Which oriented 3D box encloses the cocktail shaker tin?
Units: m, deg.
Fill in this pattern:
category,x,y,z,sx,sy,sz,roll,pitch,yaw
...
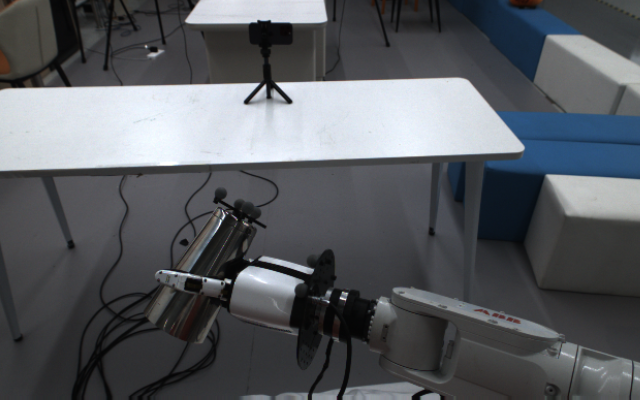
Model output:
category,x,y,z,sx,sy,sz,roll,pitch,yaw
cocktail shaker tin,-0.158,0.097,0.671,0.093,0.093,0.170,26,83,31
